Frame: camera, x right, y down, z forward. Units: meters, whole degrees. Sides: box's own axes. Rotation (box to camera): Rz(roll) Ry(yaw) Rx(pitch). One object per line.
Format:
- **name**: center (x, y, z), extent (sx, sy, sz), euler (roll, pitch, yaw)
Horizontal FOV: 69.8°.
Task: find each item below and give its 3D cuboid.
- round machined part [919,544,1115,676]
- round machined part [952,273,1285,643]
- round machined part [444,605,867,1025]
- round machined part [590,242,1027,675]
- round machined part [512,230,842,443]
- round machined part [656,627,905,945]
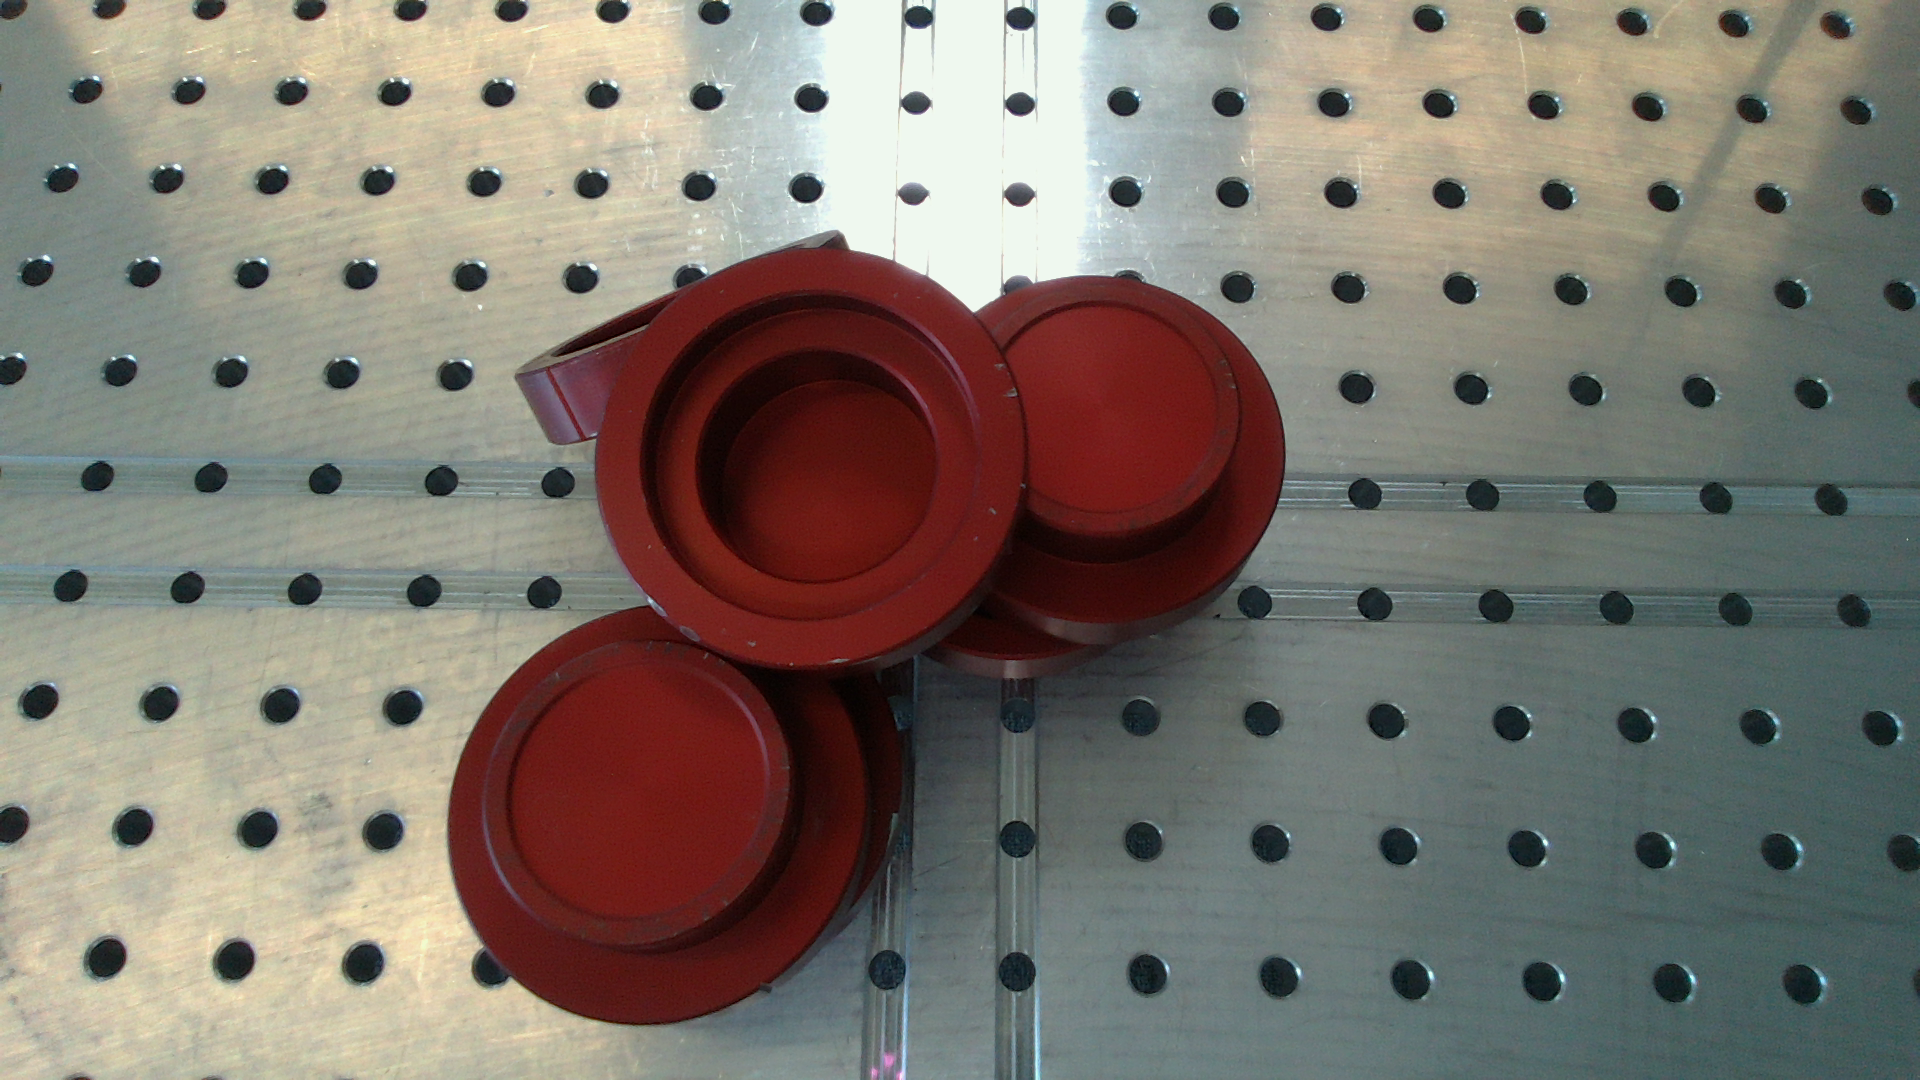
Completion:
- **round machined part**: center (0.013, -0.015, 0.371), extent (0.098, 0.042, 0.098), euler (0, 70, 0)
- **round machined part**: center (0.034, -0.027, 0.352), extent (0.098, 0.042, 0.098), euler (0, 69, 0)
- **round machined part**: center (-0.071, 0.061, 0.320), extent (0.098, 0.042, 0.098), euler (0, 70, 0)
- **round machined part**: center (-0.033, -0.017, 0.326), extent (0.098, 0.042, 0.098), euler (-1, 78, 3)
- **round machined part**: center (-0.070, -0.049, 0.385), extent (0.098, 0.098, 0.042), euler (-26, 107, -9)
- **round machined part**: center (-0.064, 0.059, 0.344), extent (0.098, 0.042, 0.098), euler (0, 70, 0)
